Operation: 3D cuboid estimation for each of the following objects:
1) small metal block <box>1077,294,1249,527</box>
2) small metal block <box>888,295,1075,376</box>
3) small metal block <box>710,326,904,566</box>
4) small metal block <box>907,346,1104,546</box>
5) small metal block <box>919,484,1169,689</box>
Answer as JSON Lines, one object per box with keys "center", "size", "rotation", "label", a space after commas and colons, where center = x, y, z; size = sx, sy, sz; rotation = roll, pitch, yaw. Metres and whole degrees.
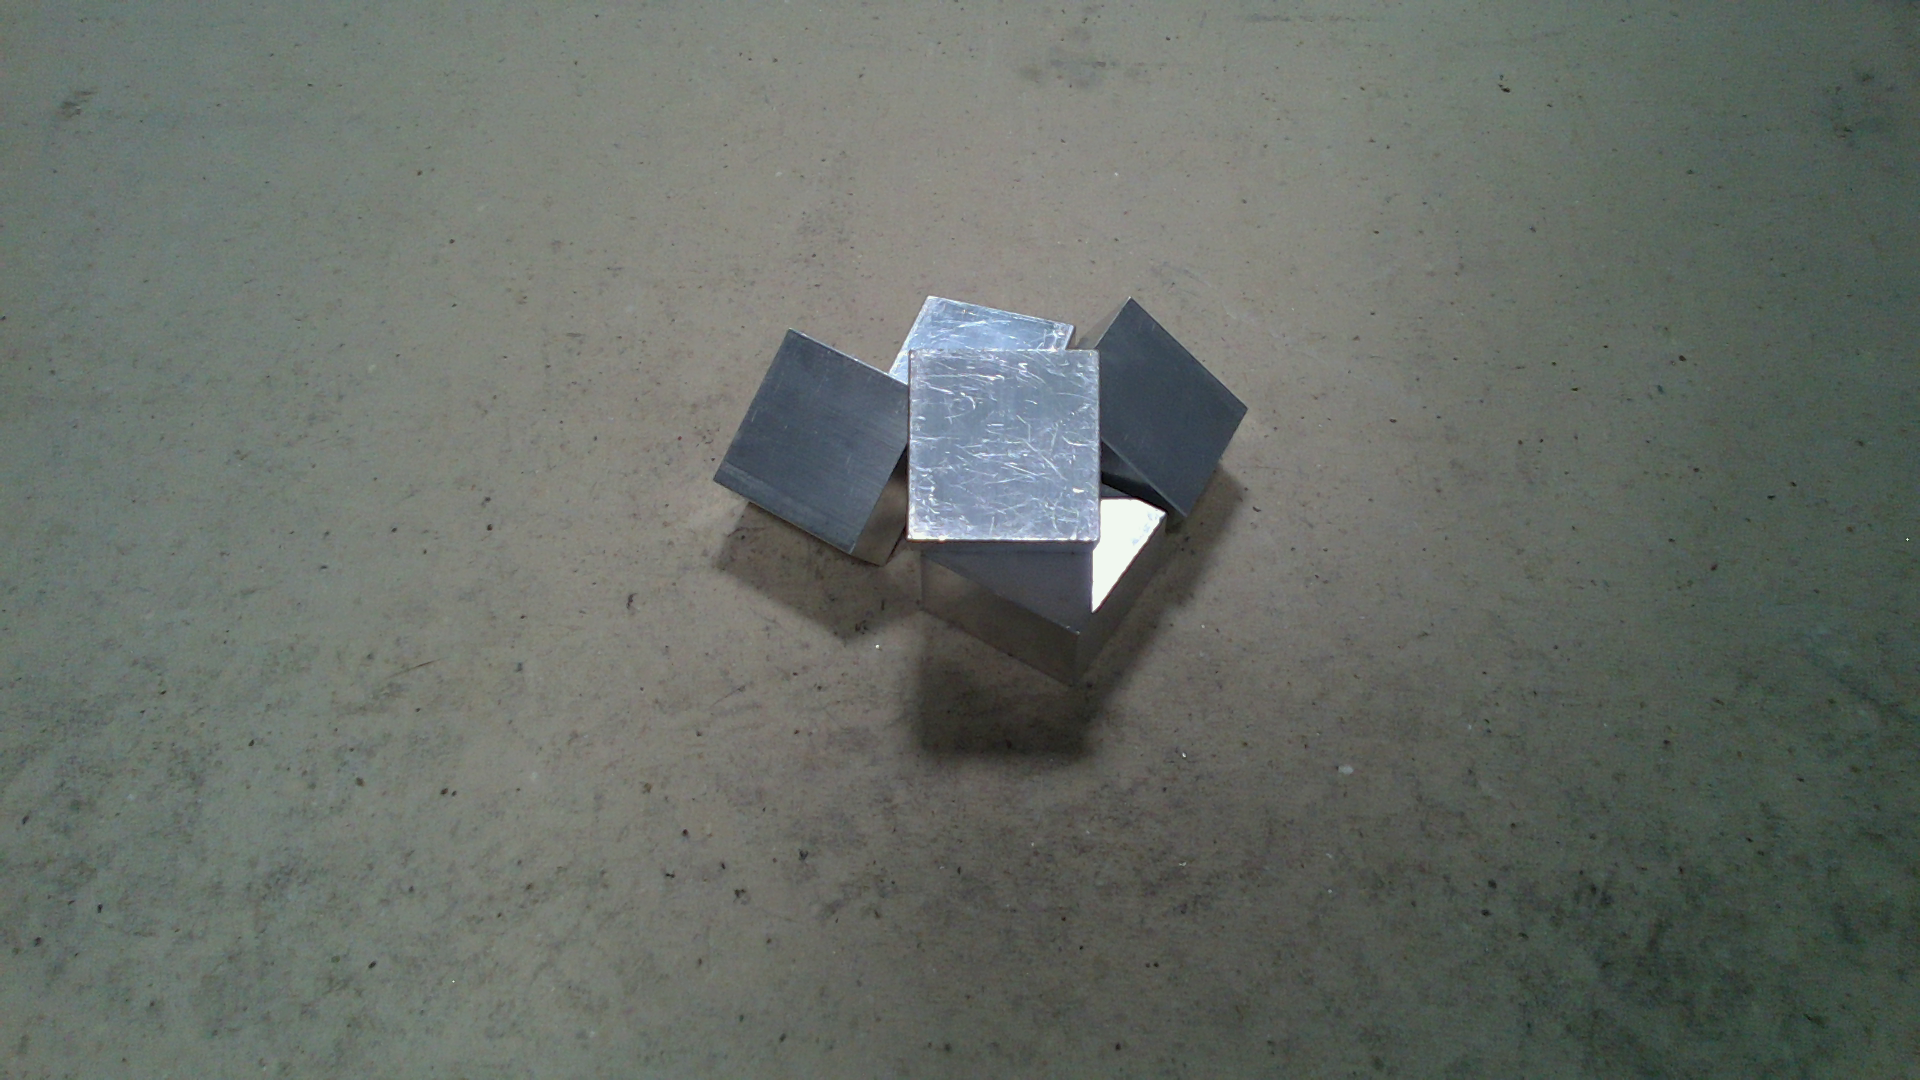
{"center": [0.051, -0.035, 0.407], "size": [0.050, 0.025, 0.050], "rotation": [41, 55, -10], "label": "small metal block"}
{"center": [0.005, -0.047, 0.432], "size": [0.050, 0.025, 0.050], "rotation": [13, 51, 11], "label": "small metal block"}
{"center": [-0.036, -0.027, 0.399], "size": [0.050, 0.025, 0.050], "rotation": [27, 91, 20], "label": "small metal block"}
{"center": [0.012, -0.024, 0.364], "size": [0.050, 0.025, 0.050], "rotation": [0, 82, 0], "label": "small metal block"}
{"center": [0.024, 0.006, 0.387], "size": [0.050, 0.025, 0.050], "rotation": [26, 55, 20], "label": "small metal block"}
